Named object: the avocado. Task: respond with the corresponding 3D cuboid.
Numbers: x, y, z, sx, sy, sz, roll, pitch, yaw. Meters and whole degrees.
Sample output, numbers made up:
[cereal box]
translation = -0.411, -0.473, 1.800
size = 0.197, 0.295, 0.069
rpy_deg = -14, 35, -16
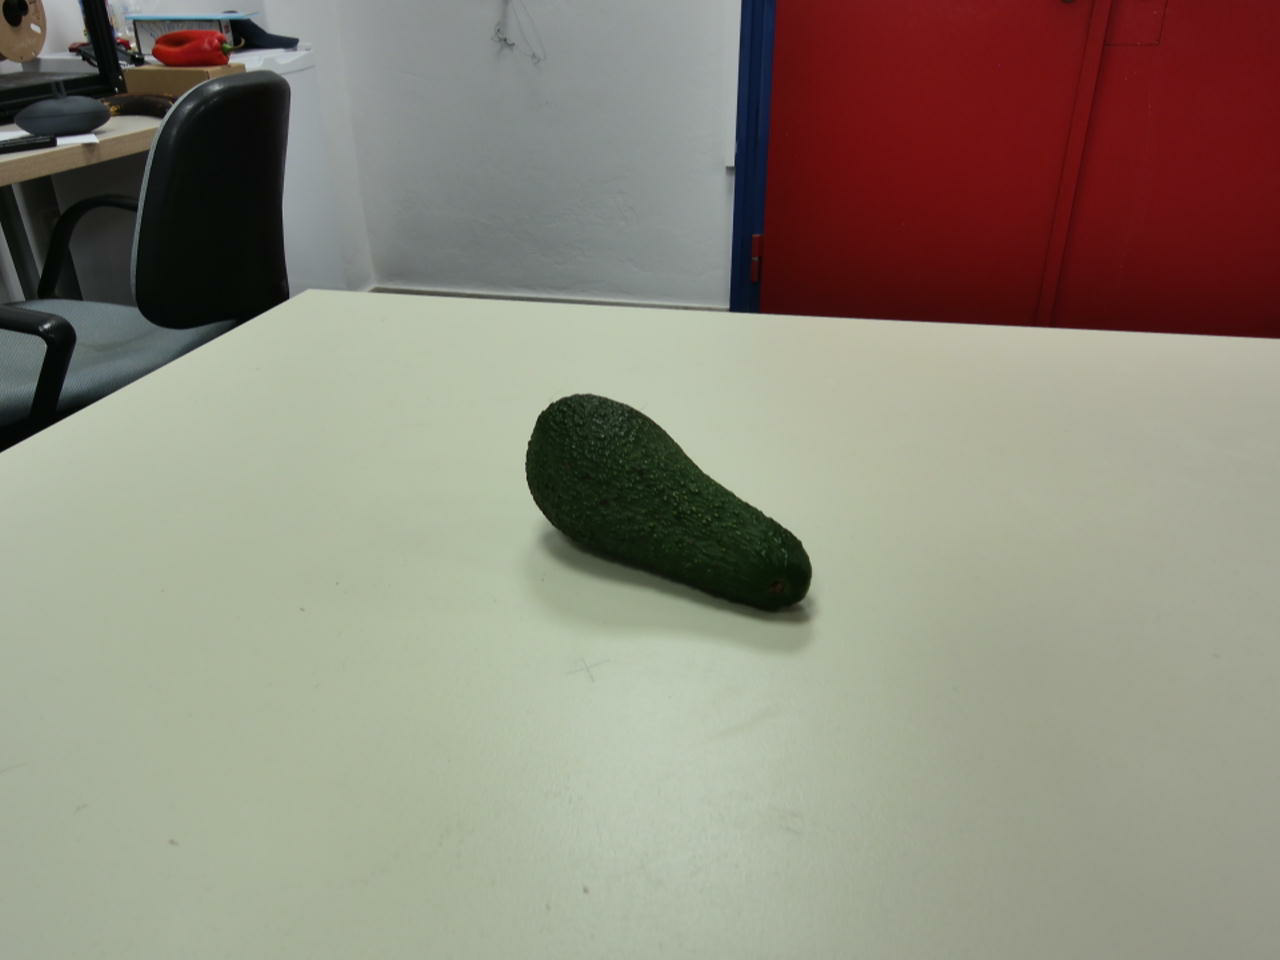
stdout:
[avocado]
translation = 0.012, 0.004, 0.418
size = 0.141, 0.067, 0.063
rpy_deg = 12, 27, 26
